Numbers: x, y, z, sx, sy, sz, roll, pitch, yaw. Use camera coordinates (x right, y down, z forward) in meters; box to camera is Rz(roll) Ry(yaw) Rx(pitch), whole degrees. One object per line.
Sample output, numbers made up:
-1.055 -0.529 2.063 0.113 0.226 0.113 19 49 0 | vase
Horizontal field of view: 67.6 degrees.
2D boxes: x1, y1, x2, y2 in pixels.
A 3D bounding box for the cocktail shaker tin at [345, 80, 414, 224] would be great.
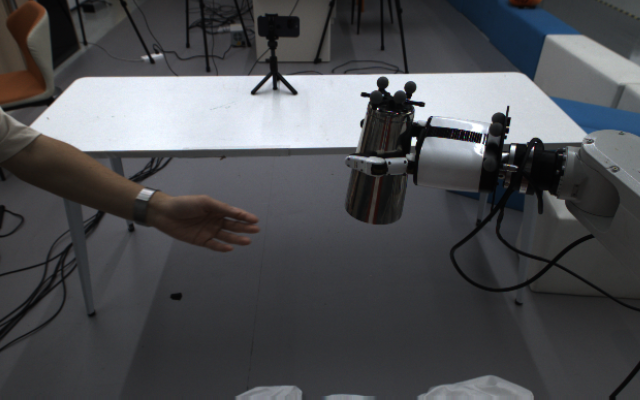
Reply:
0.093 -0.061 0.717 0.093 0.170 0.093 5 31 -3 | cocktail shaker tin
